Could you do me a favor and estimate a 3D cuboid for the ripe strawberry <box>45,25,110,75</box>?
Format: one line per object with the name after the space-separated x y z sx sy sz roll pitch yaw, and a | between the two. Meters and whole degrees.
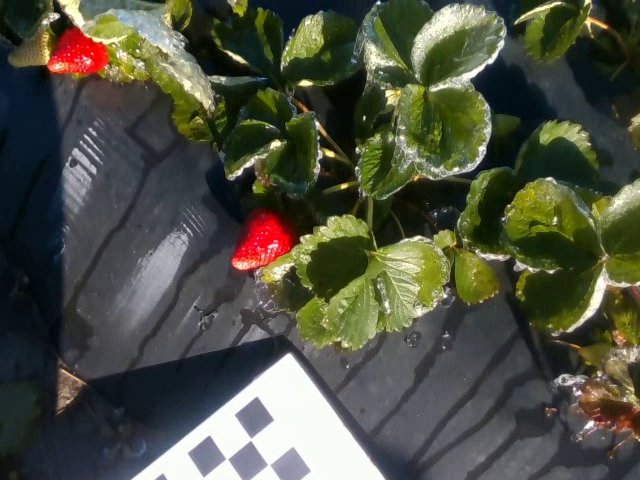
-0.176 -0.133 0.445 0.037 0.040 0.051 36 40 12 | ripe strawberry

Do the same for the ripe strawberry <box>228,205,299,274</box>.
-0.040 0.003 0.404 0.052 0.041 0.047 -36 -15 -38 | ripe strawberry
